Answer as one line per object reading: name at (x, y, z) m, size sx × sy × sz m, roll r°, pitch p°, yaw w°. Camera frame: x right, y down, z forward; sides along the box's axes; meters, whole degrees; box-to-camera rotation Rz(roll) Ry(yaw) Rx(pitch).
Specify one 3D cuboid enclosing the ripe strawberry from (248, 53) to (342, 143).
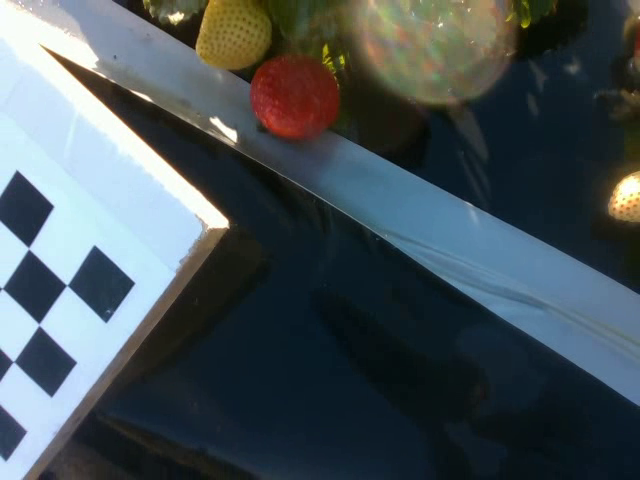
ripe strawberry at (-0.013, -0.063, 0.271) m, size 0.045 × 0.049 × 0.064 m, roll -25°, pitch 29°, yaw 20°
